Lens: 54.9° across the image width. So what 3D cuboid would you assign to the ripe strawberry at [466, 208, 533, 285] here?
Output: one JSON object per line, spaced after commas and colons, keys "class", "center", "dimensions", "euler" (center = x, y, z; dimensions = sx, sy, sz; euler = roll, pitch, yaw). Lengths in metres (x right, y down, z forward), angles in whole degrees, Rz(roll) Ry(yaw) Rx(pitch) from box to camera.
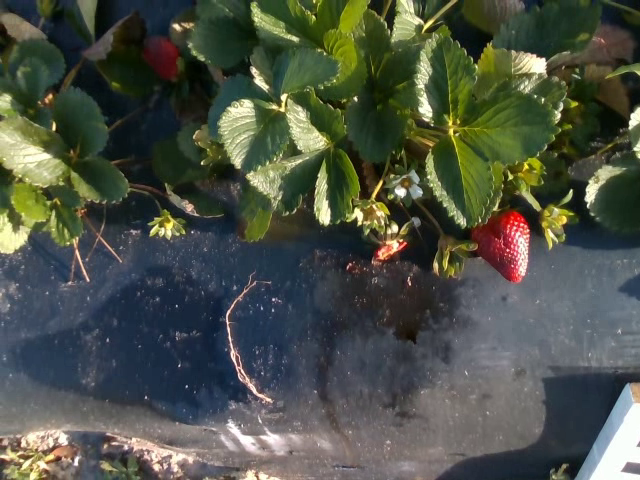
{"class": "ripe strawberry", "center": [0.141, 0.010, 0.463], "dimensions": [0.052, 0.051, 0.041], "euler": [-21, -23, 26]}
